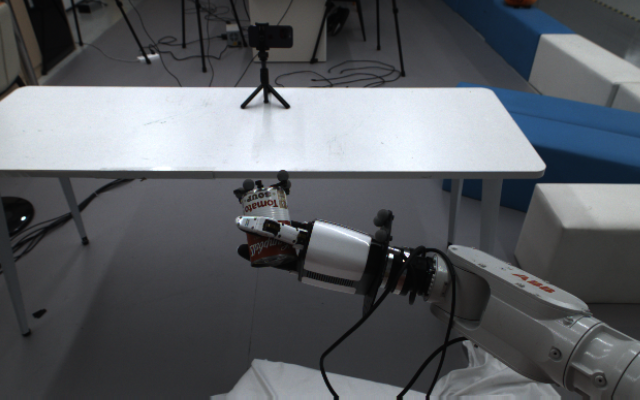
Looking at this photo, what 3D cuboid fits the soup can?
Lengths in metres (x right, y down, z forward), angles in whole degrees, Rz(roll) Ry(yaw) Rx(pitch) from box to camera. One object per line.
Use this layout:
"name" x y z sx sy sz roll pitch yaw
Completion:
"soup can" -0.073 0.041 0.696 0.067 0.067 0.101 -8 74 -14
